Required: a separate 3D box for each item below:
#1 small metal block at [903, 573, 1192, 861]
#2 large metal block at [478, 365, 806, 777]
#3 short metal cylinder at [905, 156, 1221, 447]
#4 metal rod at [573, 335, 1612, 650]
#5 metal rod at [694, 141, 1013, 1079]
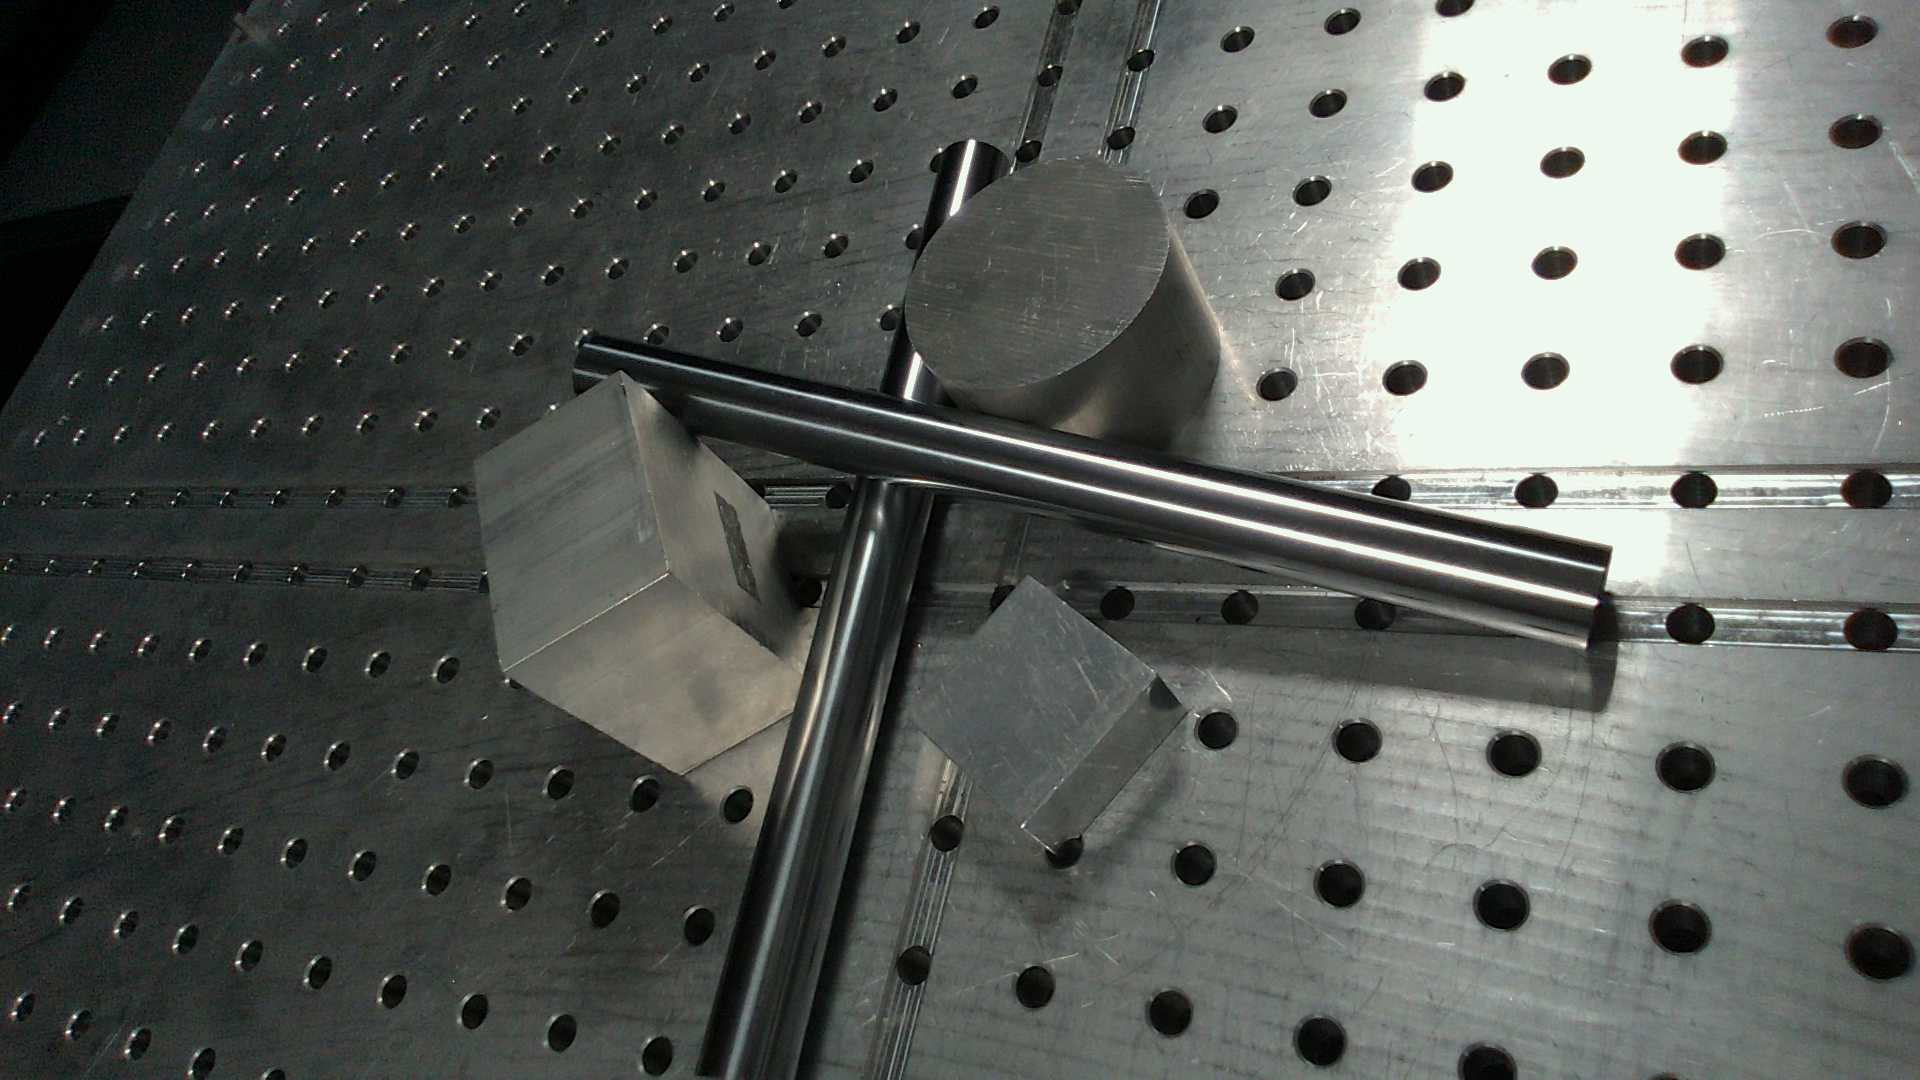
[{"bbox_3d":[0.022,0.045,0.358,0.050,0.025,0.050,-48,51,-5],"label":"small metal block"},{"bbox_3d":[-0.089,0.011,0.402,0.050,0.080,0.080,-31,51,9],"label":"large metal block"},{"bbox_3d":[0.031,-0.064,0.403,0.080,0.050,0.080,-14,56,21],"label":"short metal cylinder"},{"bbox_3d":[0.014,-0.020,0.377,0.299,0.025,0.025,14,69,26],"label":"metal rod"},{"bbox_3d":[-0.024,0.004,0.408,0.025,0.025,0.300,-2,61,28],"label":"metal rod"}]
